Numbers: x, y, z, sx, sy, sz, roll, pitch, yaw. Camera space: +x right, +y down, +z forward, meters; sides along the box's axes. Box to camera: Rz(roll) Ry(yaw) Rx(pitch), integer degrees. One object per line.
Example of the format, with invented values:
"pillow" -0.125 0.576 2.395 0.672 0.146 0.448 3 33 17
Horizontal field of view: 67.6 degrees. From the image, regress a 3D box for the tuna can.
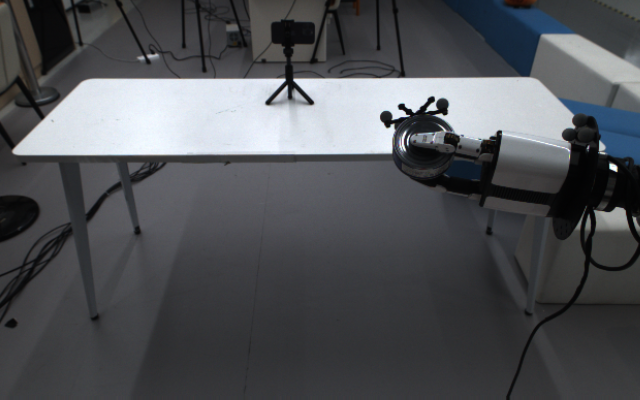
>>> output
"tuna can" 0.143 -0.076 0.660 0.085 0.034 0.085 -4 68 9
